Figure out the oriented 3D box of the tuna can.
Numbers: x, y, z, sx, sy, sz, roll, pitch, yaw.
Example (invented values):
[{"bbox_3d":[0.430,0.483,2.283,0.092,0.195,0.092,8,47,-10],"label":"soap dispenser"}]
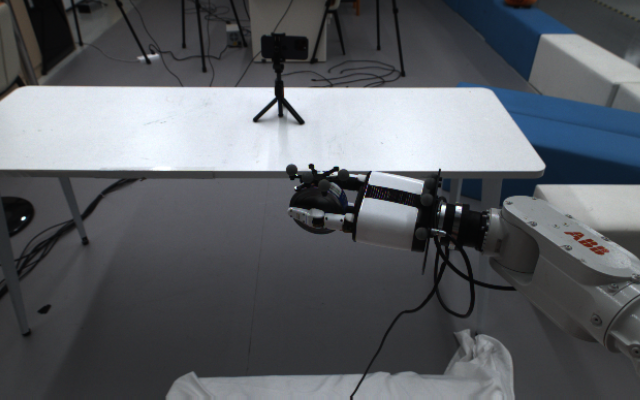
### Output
[{"bbox_3d":[-0.001,0.008,0.744,0.085,0.085,0.034,11,34,12],"label":"tuna can"}]
